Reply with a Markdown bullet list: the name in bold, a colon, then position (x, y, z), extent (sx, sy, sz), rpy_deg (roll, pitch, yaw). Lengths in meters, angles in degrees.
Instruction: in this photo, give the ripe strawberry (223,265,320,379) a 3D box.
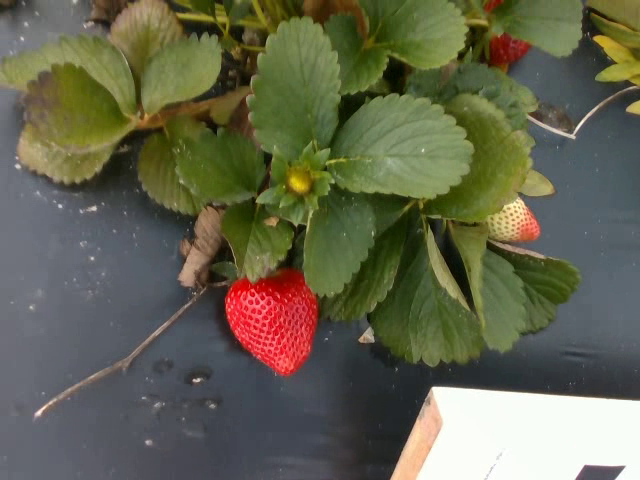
- **ripe strawberry**: position (-0.019, 0.031, 0.221), extent (0.037, 0.046, 0.036), rpy_deg (-27, -17, 18)
